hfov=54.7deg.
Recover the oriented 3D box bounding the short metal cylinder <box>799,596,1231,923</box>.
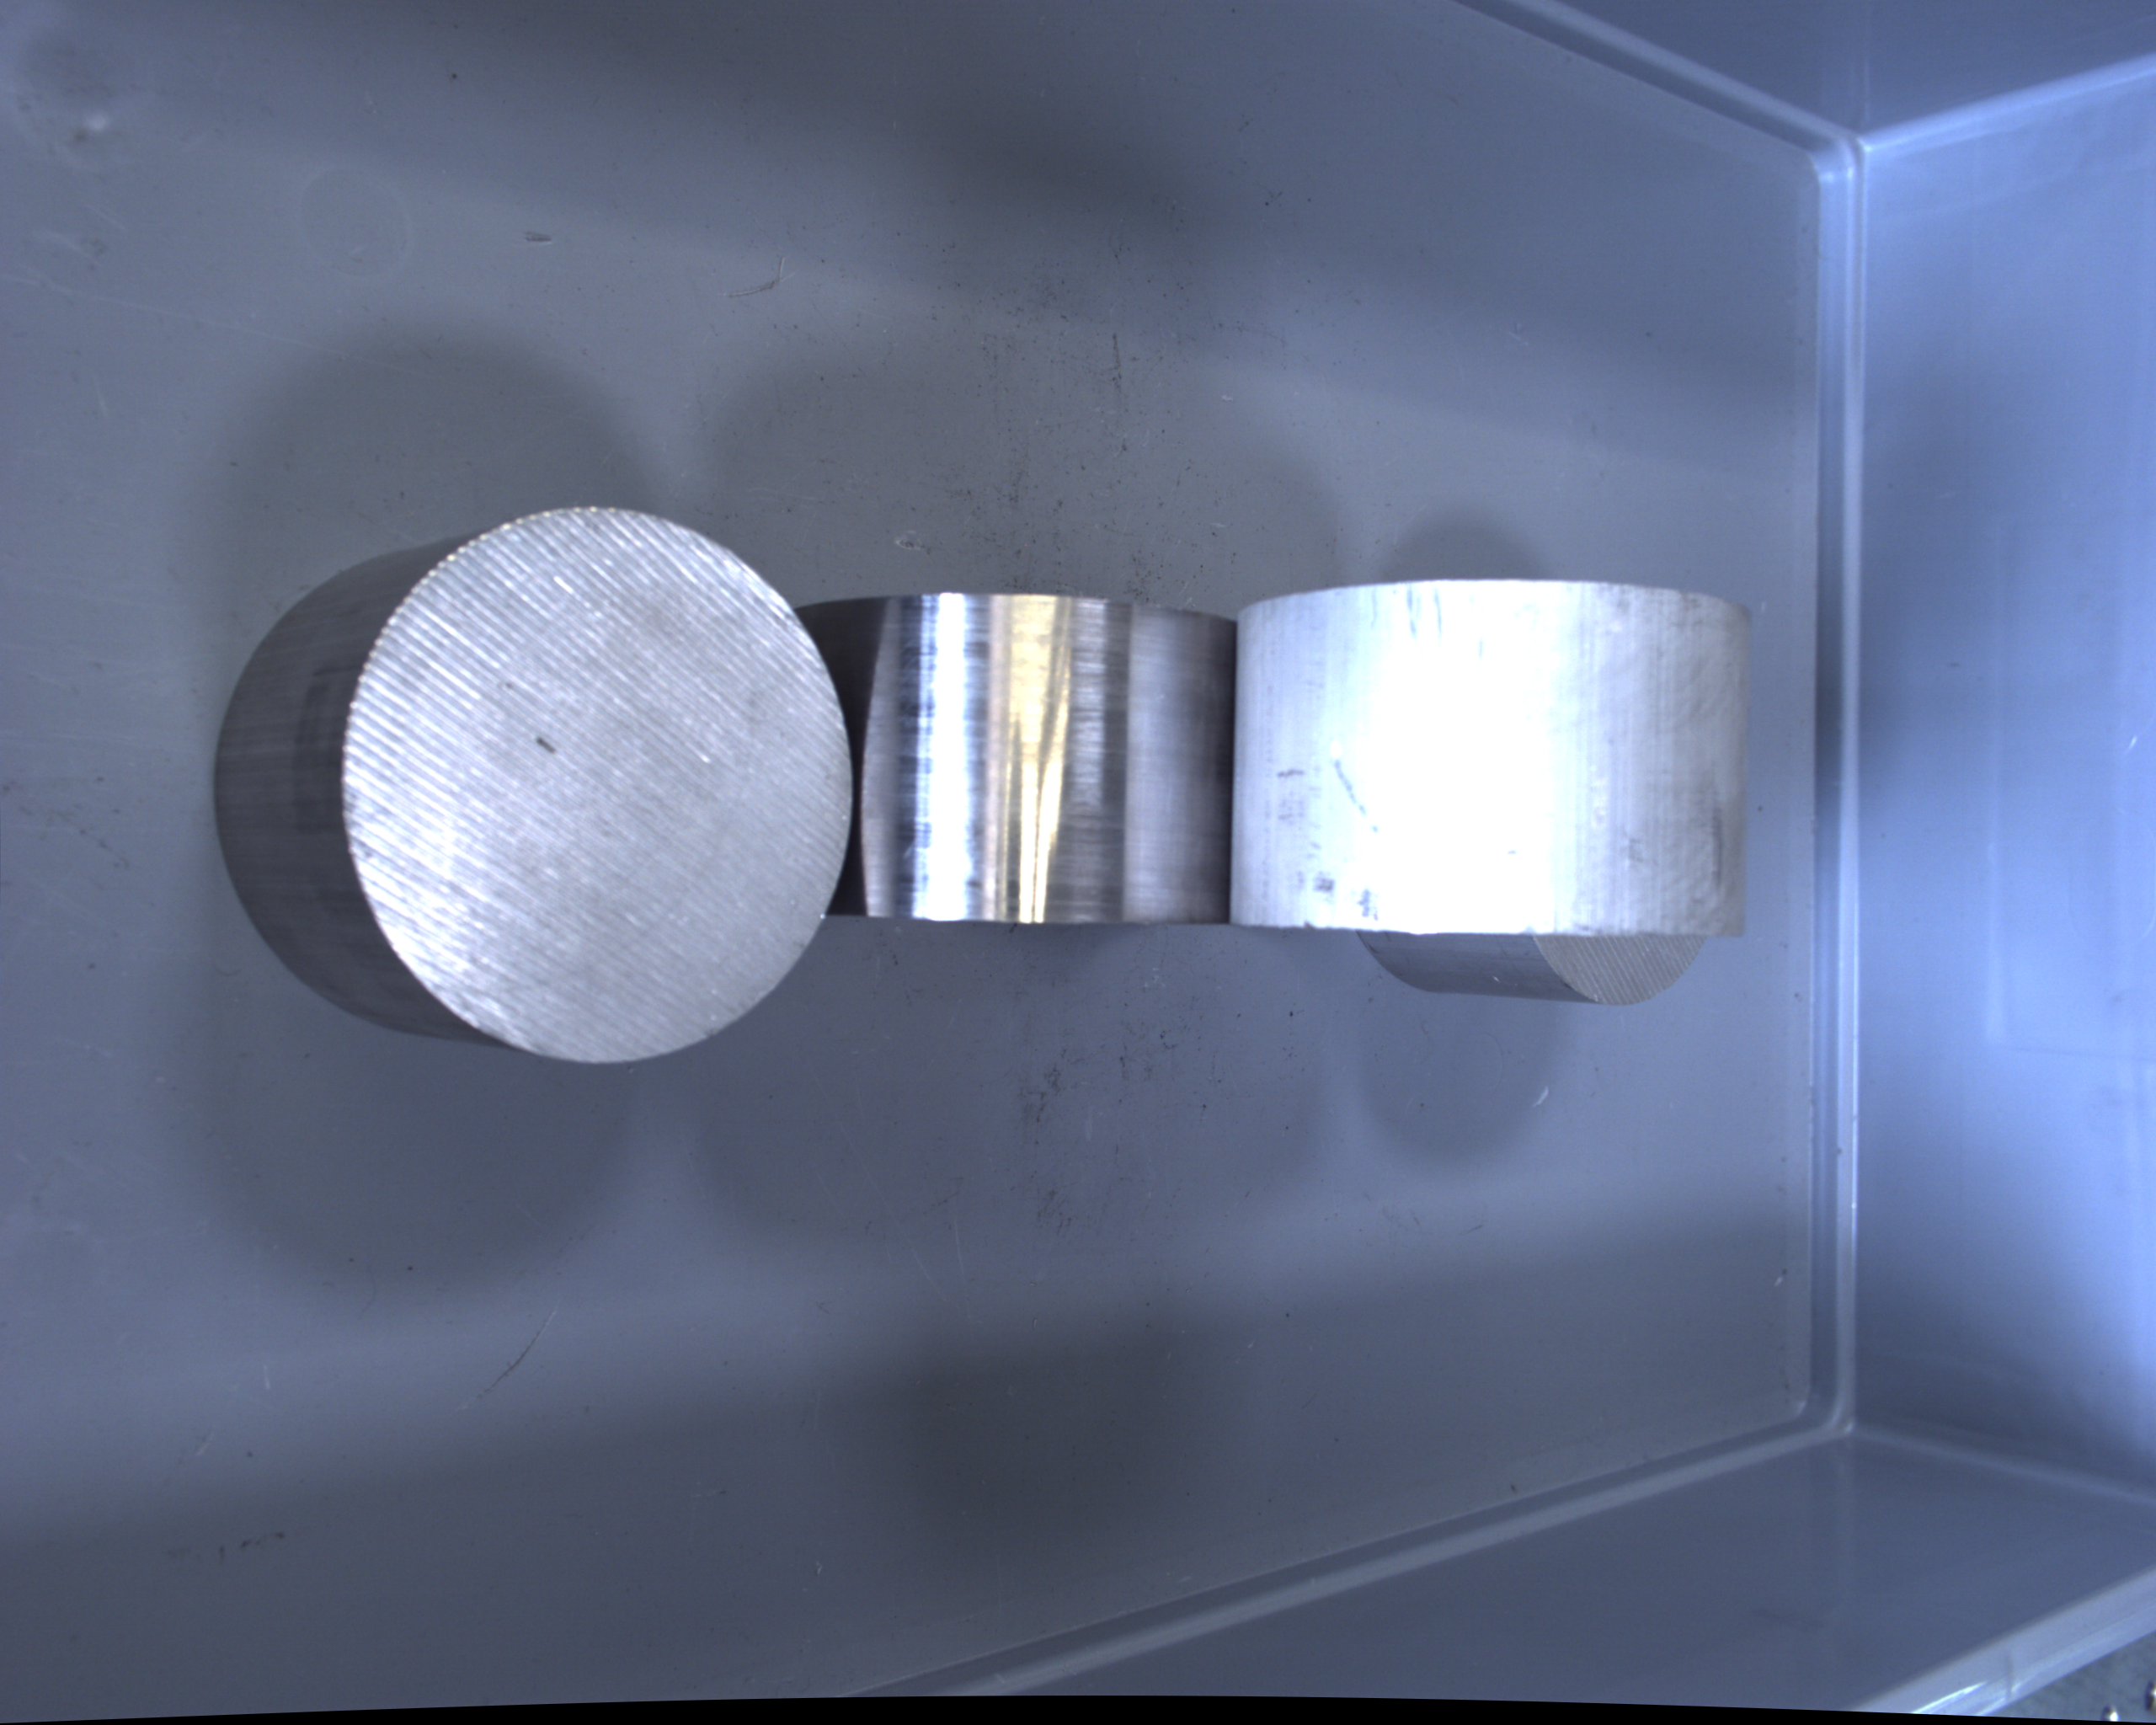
[{"bbox_3d":[-0.010,-0.015,0.360,0.081,0.080,0.050,2,89,-40],"label":"short metal cylinder"}]

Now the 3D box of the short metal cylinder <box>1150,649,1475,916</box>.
[{"bbox_3d":[0.052,-0.013,0.411,0.081,0.080,0.050,2,89,-40],"label":"short metal cylinder"}]

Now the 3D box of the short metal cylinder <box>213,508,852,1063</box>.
[{"bbox_3d":[-0.082,-0.011,0.319,0.081,0.050,0.080,0,90,-40],"label":"short metal cylinder"}]

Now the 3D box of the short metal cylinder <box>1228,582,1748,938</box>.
[{"bbox_3d":[0.065,-0.014,0.333,0.081,0.080,0.050,2,89,-40],"label":"short metal cylinder"}]

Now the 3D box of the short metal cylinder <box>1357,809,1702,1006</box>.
[{"bbox_3d":[0.103,-0.009,0.475,0.081,0.050,0.080,0,90,-40],"label":"short metal cylinder"}]
